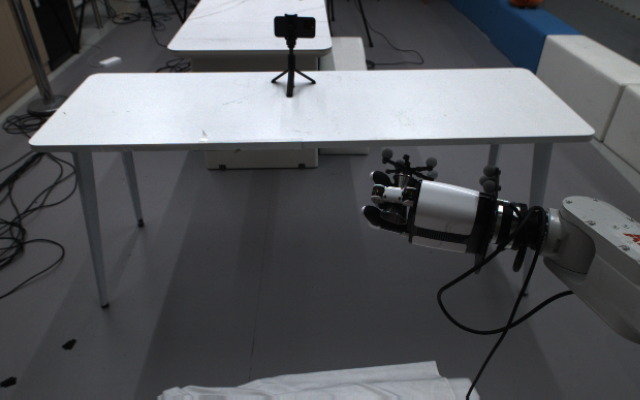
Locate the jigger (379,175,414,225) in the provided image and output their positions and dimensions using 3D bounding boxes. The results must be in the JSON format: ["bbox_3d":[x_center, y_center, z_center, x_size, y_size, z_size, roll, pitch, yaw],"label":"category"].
[{"bbox_3d":[0.125,-0.002,0.742,0.043,0.043,0.071,13,69,15],"label":"jigger"}]
